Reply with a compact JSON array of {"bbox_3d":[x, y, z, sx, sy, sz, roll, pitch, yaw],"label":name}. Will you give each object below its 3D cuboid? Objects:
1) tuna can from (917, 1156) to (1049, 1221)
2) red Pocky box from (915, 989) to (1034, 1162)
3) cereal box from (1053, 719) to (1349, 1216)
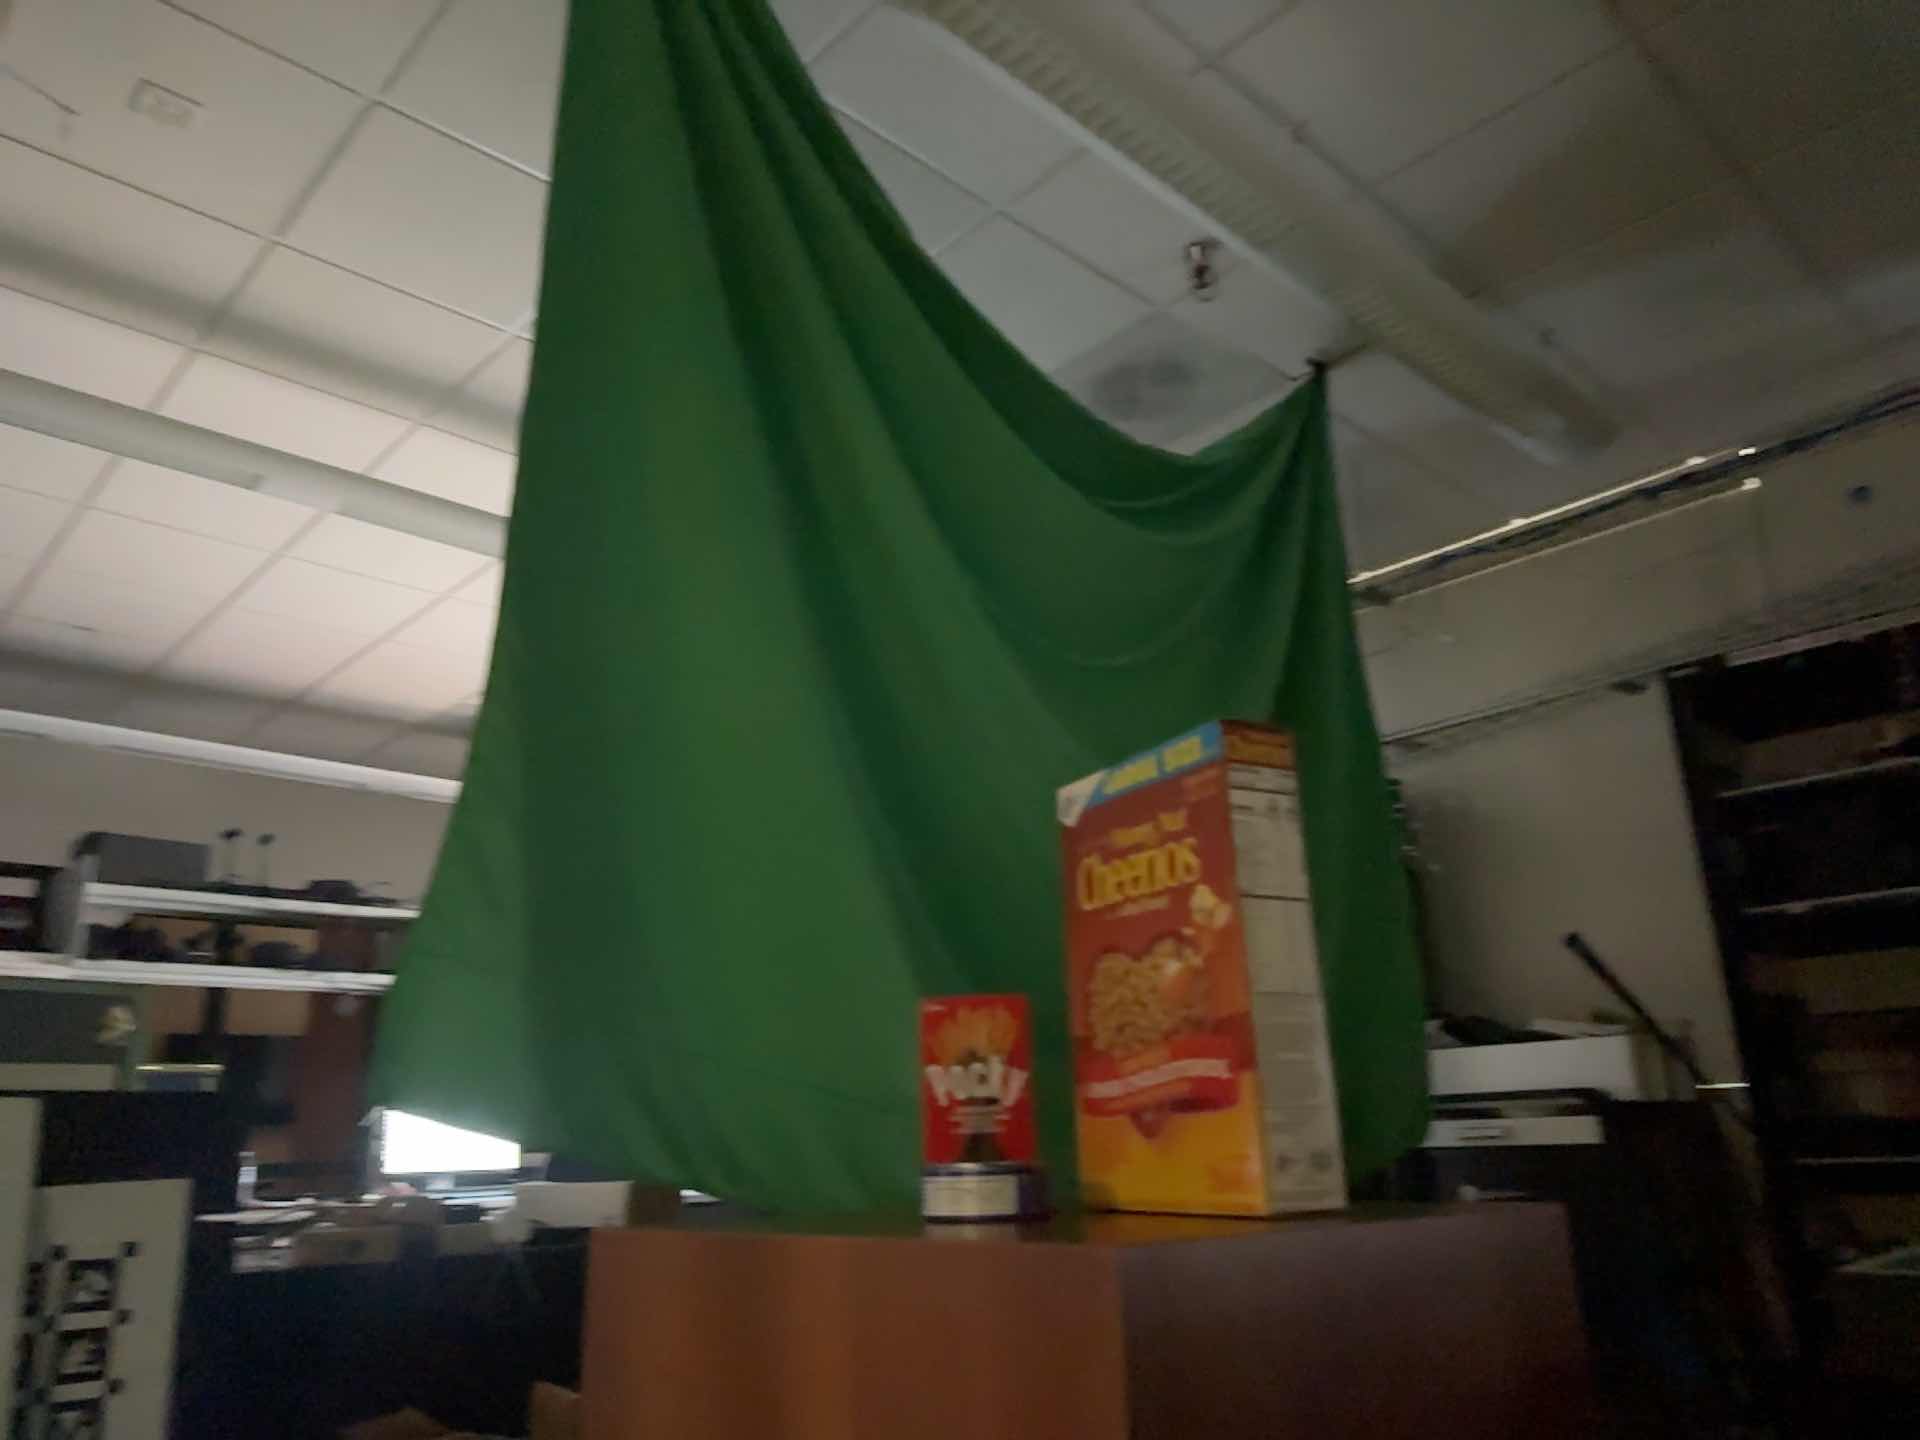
[{"bbox_3d":[0.015,0.301,0.866,0.083,0.034,0.083,-3,-16,-1],"label":"tuna can"},{"bbox_3d":[0.010,0.276,0.983,0.083,0.155,0.028,-3,-15,-1],"label":"red Pocky box"},{"bbox_3d":[0.152,0.172,0.919,0.065,0.297,0.195,7,-18,-29],"label":"cereal box"}]
